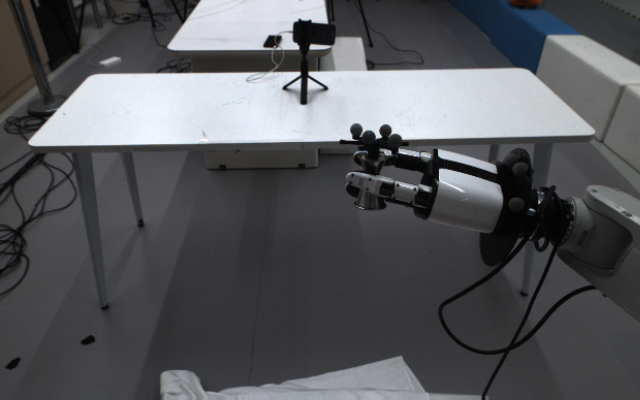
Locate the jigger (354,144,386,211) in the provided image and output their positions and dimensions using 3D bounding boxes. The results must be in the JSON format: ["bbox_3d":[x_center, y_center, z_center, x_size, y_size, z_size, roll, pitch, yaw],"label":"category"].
[{"bbox_3d":[0.068,-0.027,0.645,0.043,0.071,0.043,1,20,0],"label":"jigger"}]
